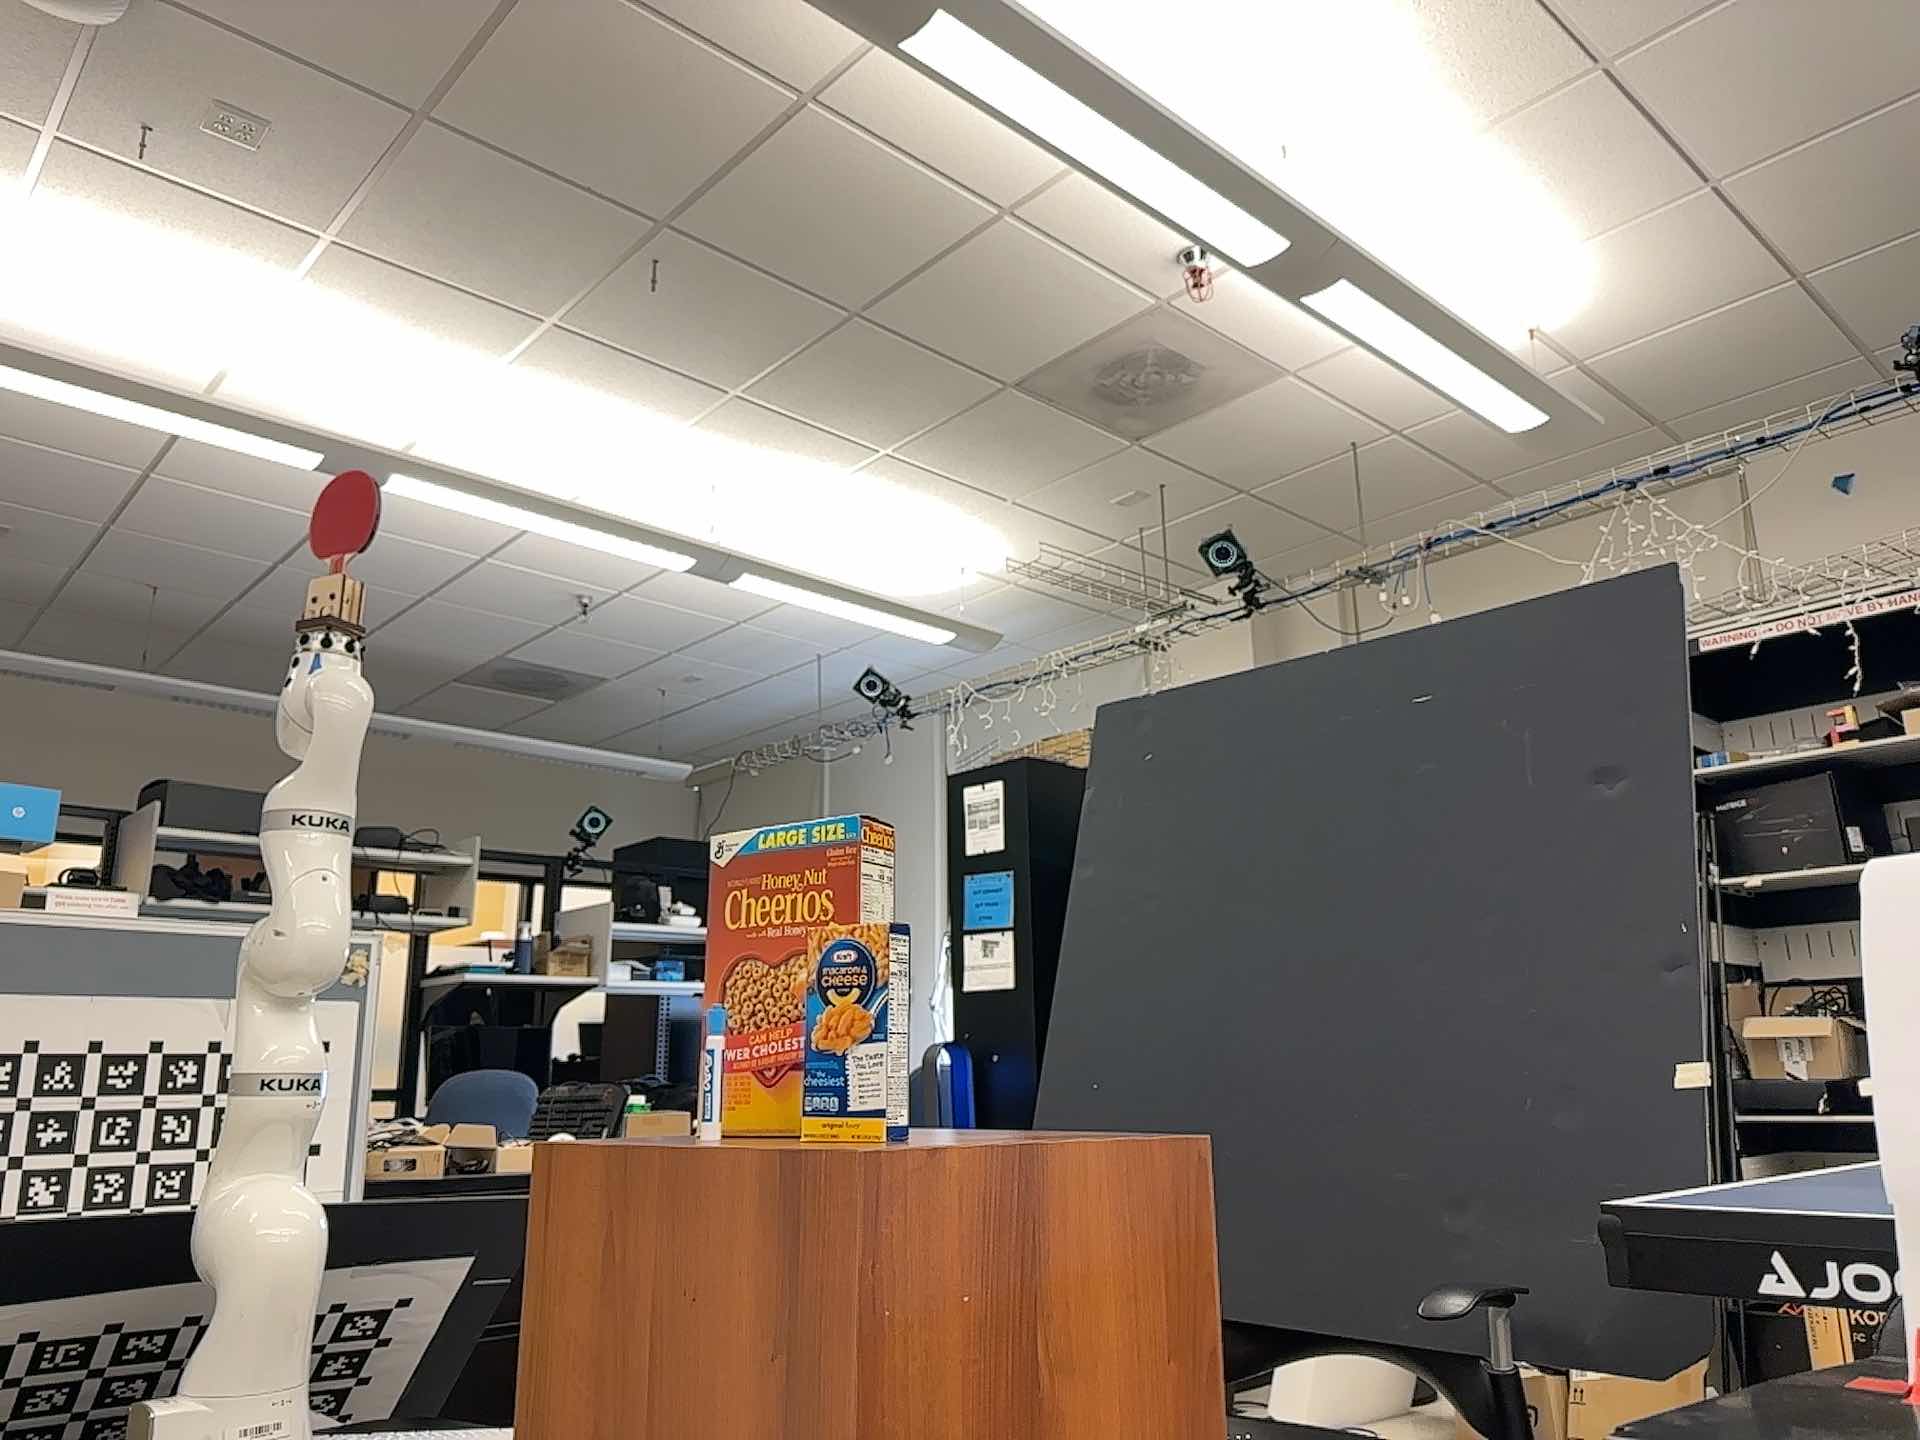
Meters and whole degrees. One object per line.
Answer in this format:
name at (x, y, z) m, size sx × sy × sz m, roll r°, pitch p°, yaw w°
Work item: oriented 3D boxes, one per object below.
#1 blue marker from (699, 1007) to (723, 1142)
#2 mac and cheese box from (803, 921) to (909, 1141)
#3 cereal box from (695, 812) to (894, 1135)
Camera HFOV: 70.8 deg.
blue marker at (-0.233, 0.330, 1.260) m, size 0.020 × 0.121 × 0.020 m, roll -2°, pitch -14°, yaw 0°
mac and cheese box at (-0.091, 0.273, 1.184) m, size 0.088 × 0.181 × 0.035 m, roll -13°, pitch -20°, yaw 40°
cereal box at (-0.167, 0.257, 1.356) m, size 0.195 × 0.297 × 0.065 m, roll -11°, pitch -18°, yaw 34°
